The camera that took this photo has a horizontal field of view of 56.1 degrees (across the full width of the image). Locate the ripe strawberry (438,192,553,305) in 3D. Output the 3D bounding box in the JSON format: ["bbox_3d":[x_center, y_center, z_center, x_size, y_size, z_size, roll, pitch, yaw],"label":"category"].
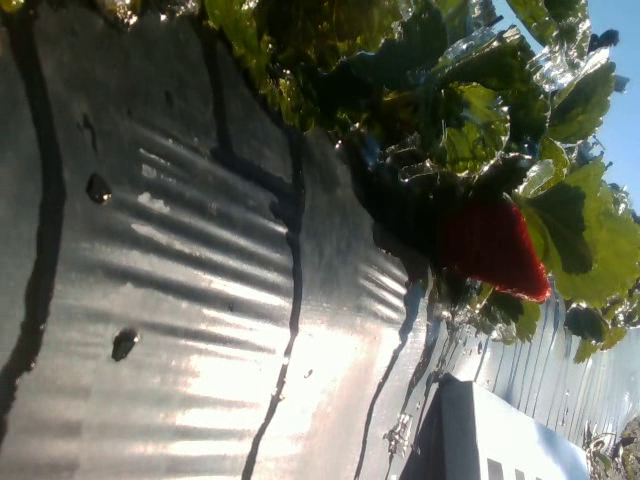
[{"bbox_3d":[0.075,0.007,0.244,0.041,0.047,0.053,28,18,-51],"label":"ripe strawberry"}]
